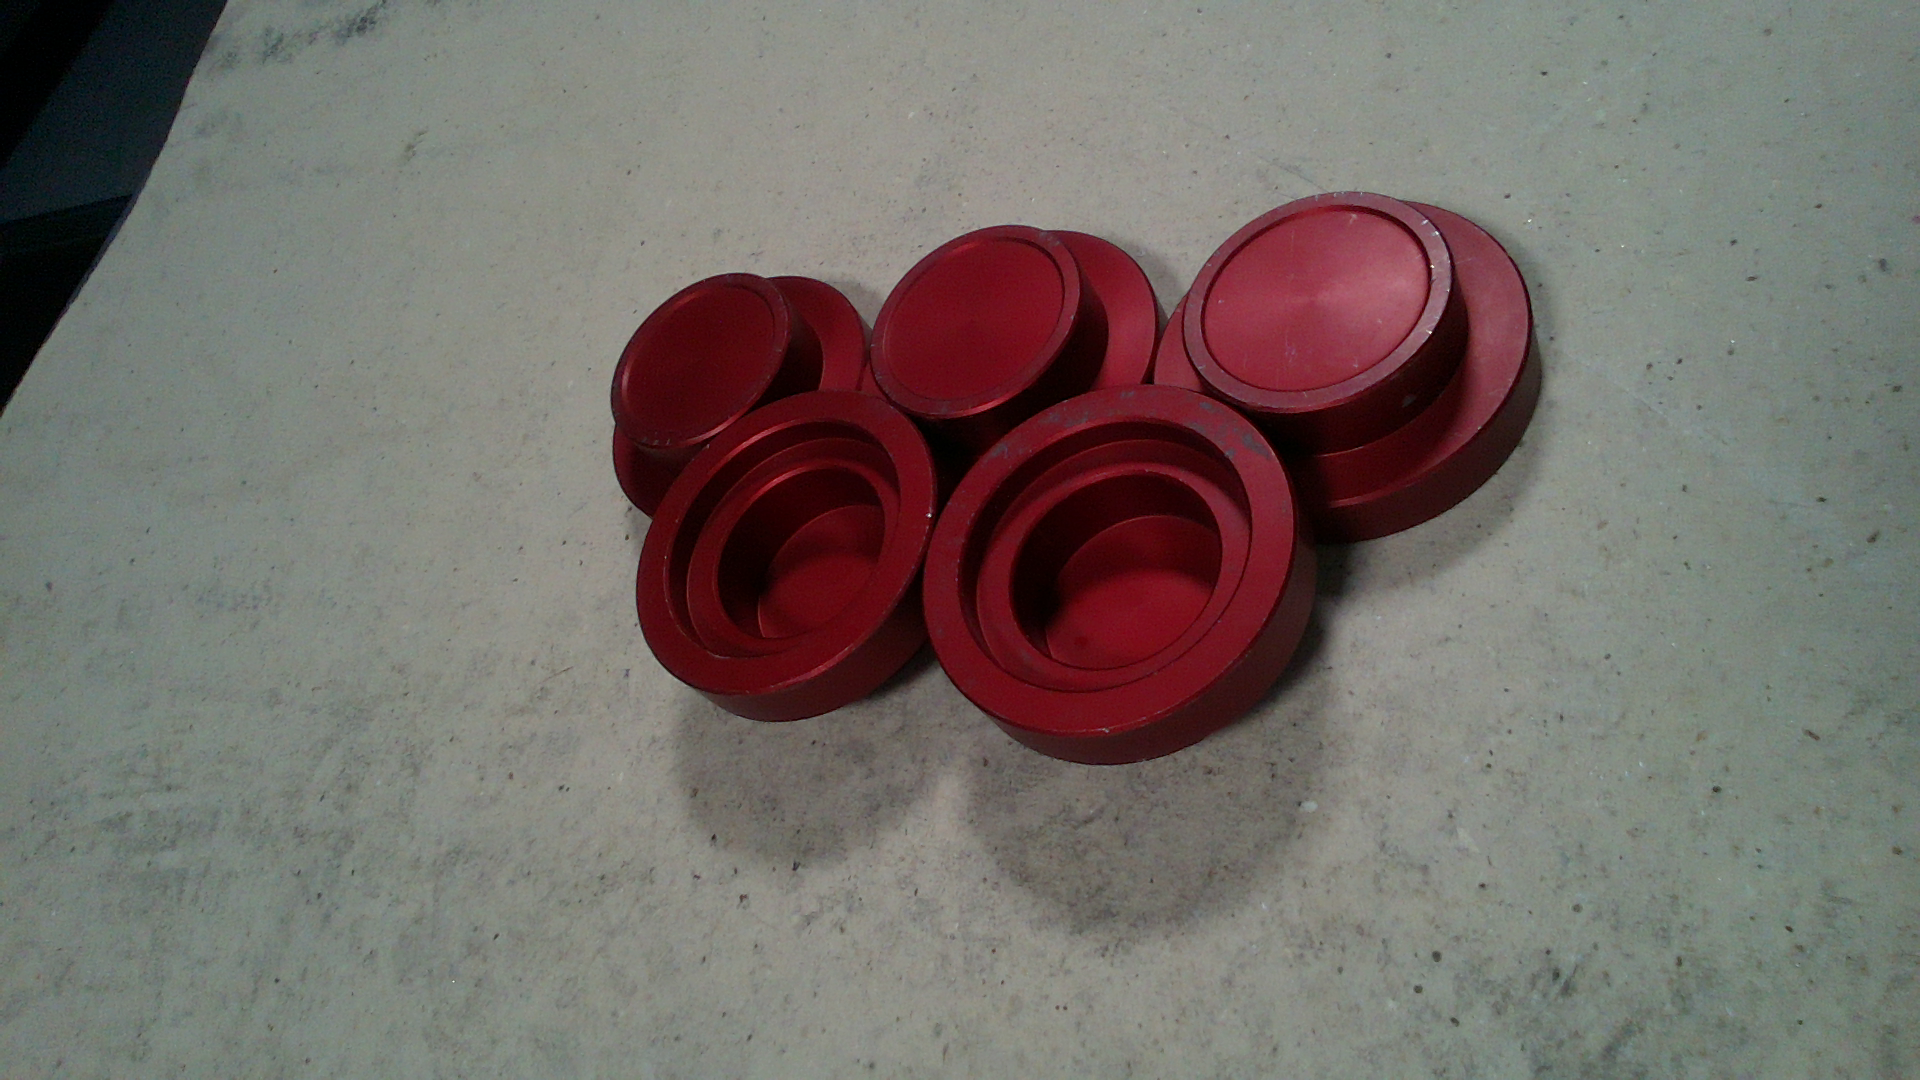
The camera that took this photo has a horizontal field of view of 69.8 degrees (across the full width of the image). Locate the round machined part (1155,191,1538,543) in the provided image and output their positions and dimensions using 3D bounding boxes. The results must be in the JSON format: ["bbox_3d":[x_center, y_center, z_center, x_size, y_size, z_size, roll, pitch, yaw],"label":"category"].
[{"bbox_3d":[0.098,-0.052,0.362,0.098,0.042,0.098,-13,56,21],"label":"round machined part"}]

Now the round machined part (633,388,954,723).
[{"bbox_3d":[-0.042,0.008,0.401,0.098,0.042,0.098,-13,56,21],"label":"round machined part"}]

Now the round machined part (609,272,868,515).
[{"bbox_3d":[-0.075,-0.049,0.454,0.098,0.042,0.098,-13,56,21],"label":"round machined part"}]

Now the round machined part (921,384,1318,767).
[{"bbox_3d":[0.043,0.012,0.352,0.098,0.042,0.098,-13,56,21],"label":"round machined part"}]

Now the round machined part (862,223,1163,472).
[{"bbox_3d":[0.012,-0.055,0.410,0.098,0.042,0.098,-13,56,21],"label":"round machined part"}]
